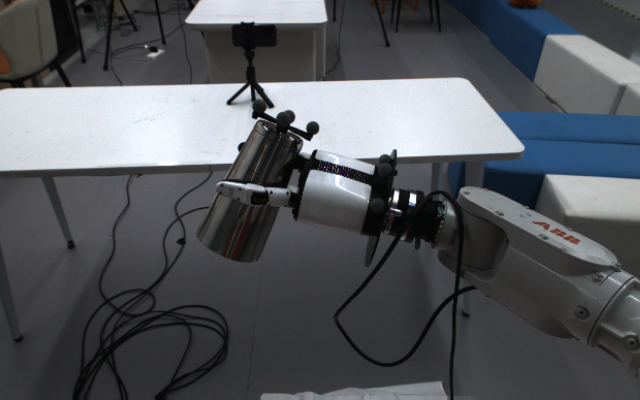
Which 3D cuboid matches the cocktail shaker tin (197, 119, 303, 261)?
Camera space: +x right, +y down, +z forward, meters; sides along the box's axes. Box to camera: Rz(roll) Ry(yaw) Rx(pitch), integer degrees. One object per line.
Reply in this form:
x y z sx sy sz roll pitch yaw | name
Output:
-0.085 -0.016 0.636 0.093 0.170 0.093 24 12 -6 | cocktail shaker tin
